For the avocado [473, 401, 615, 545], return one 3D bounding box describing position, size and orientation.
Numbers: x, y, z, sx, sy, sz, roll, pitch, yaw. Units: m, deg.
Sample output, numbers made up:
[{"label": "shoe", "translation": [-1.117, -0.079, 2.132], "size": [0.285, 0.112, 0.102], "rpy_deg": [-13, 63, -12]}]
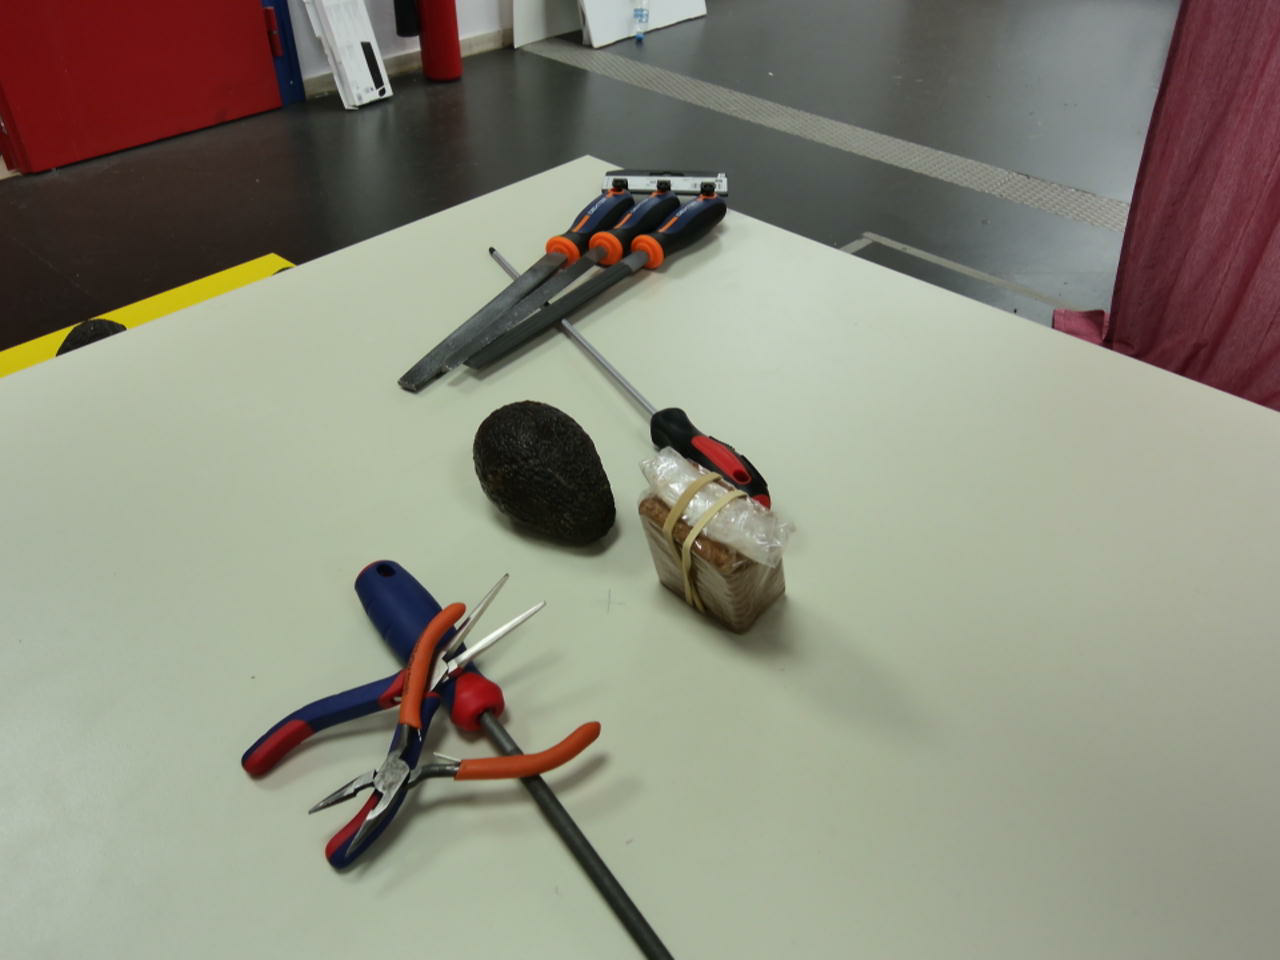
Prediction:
[{"label": "avocado", "translation": [-0.057, -0.005, 0.572], "size": [0.070, 0.069, 0.090], "rpy_deg": [-13, 40, -19]}]
